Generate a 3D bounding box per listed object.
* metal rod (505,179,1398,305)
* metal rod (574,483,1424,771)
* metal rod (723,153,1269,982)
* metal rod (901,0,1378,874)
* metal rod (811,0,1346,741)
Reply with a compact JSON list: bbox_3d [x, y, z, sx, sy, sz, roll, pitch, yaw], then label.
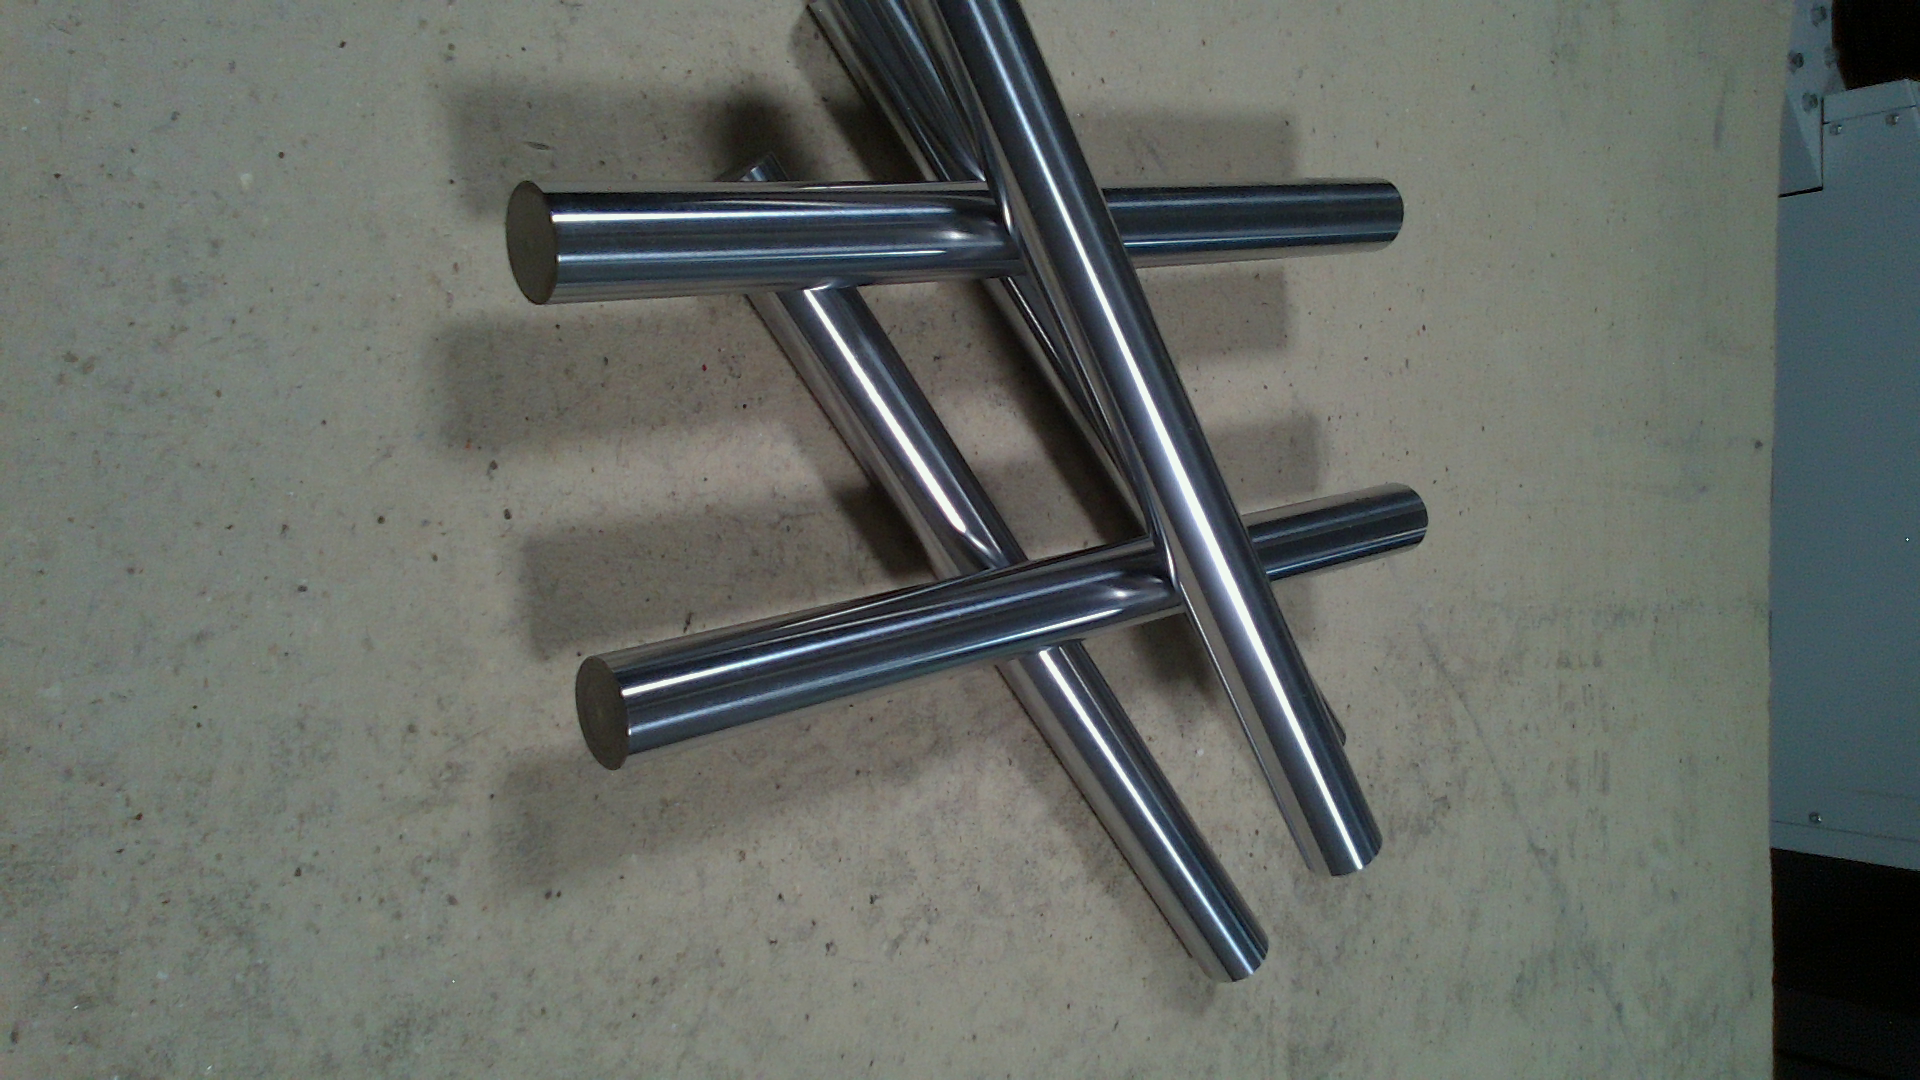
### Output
[{"bbox_3d":[0.025,-0.086,0.378,0.301,0.025,0.025,-13,98,-39],"label":"metal rod"},{"bbox_3d":[0.038,0.014,0.388,0.301,0.025,0.025,-11,97,-39],"label":"metal rod"},{"bbox_3d":[0.018,0.025,0.403,0.025,0.025,0.301,-48,118,-29],"label":"metal rod"},{"bbox_3d":[0.051,-0.030,0.367,0.025,0.025,0.300,-42,115,-32],"label":"metal rod"},{"bbox_3d":[0.049,-0.038,0.429,0.025,0.025,0.301,-50,119,-28],"label":"metal rod"}]
